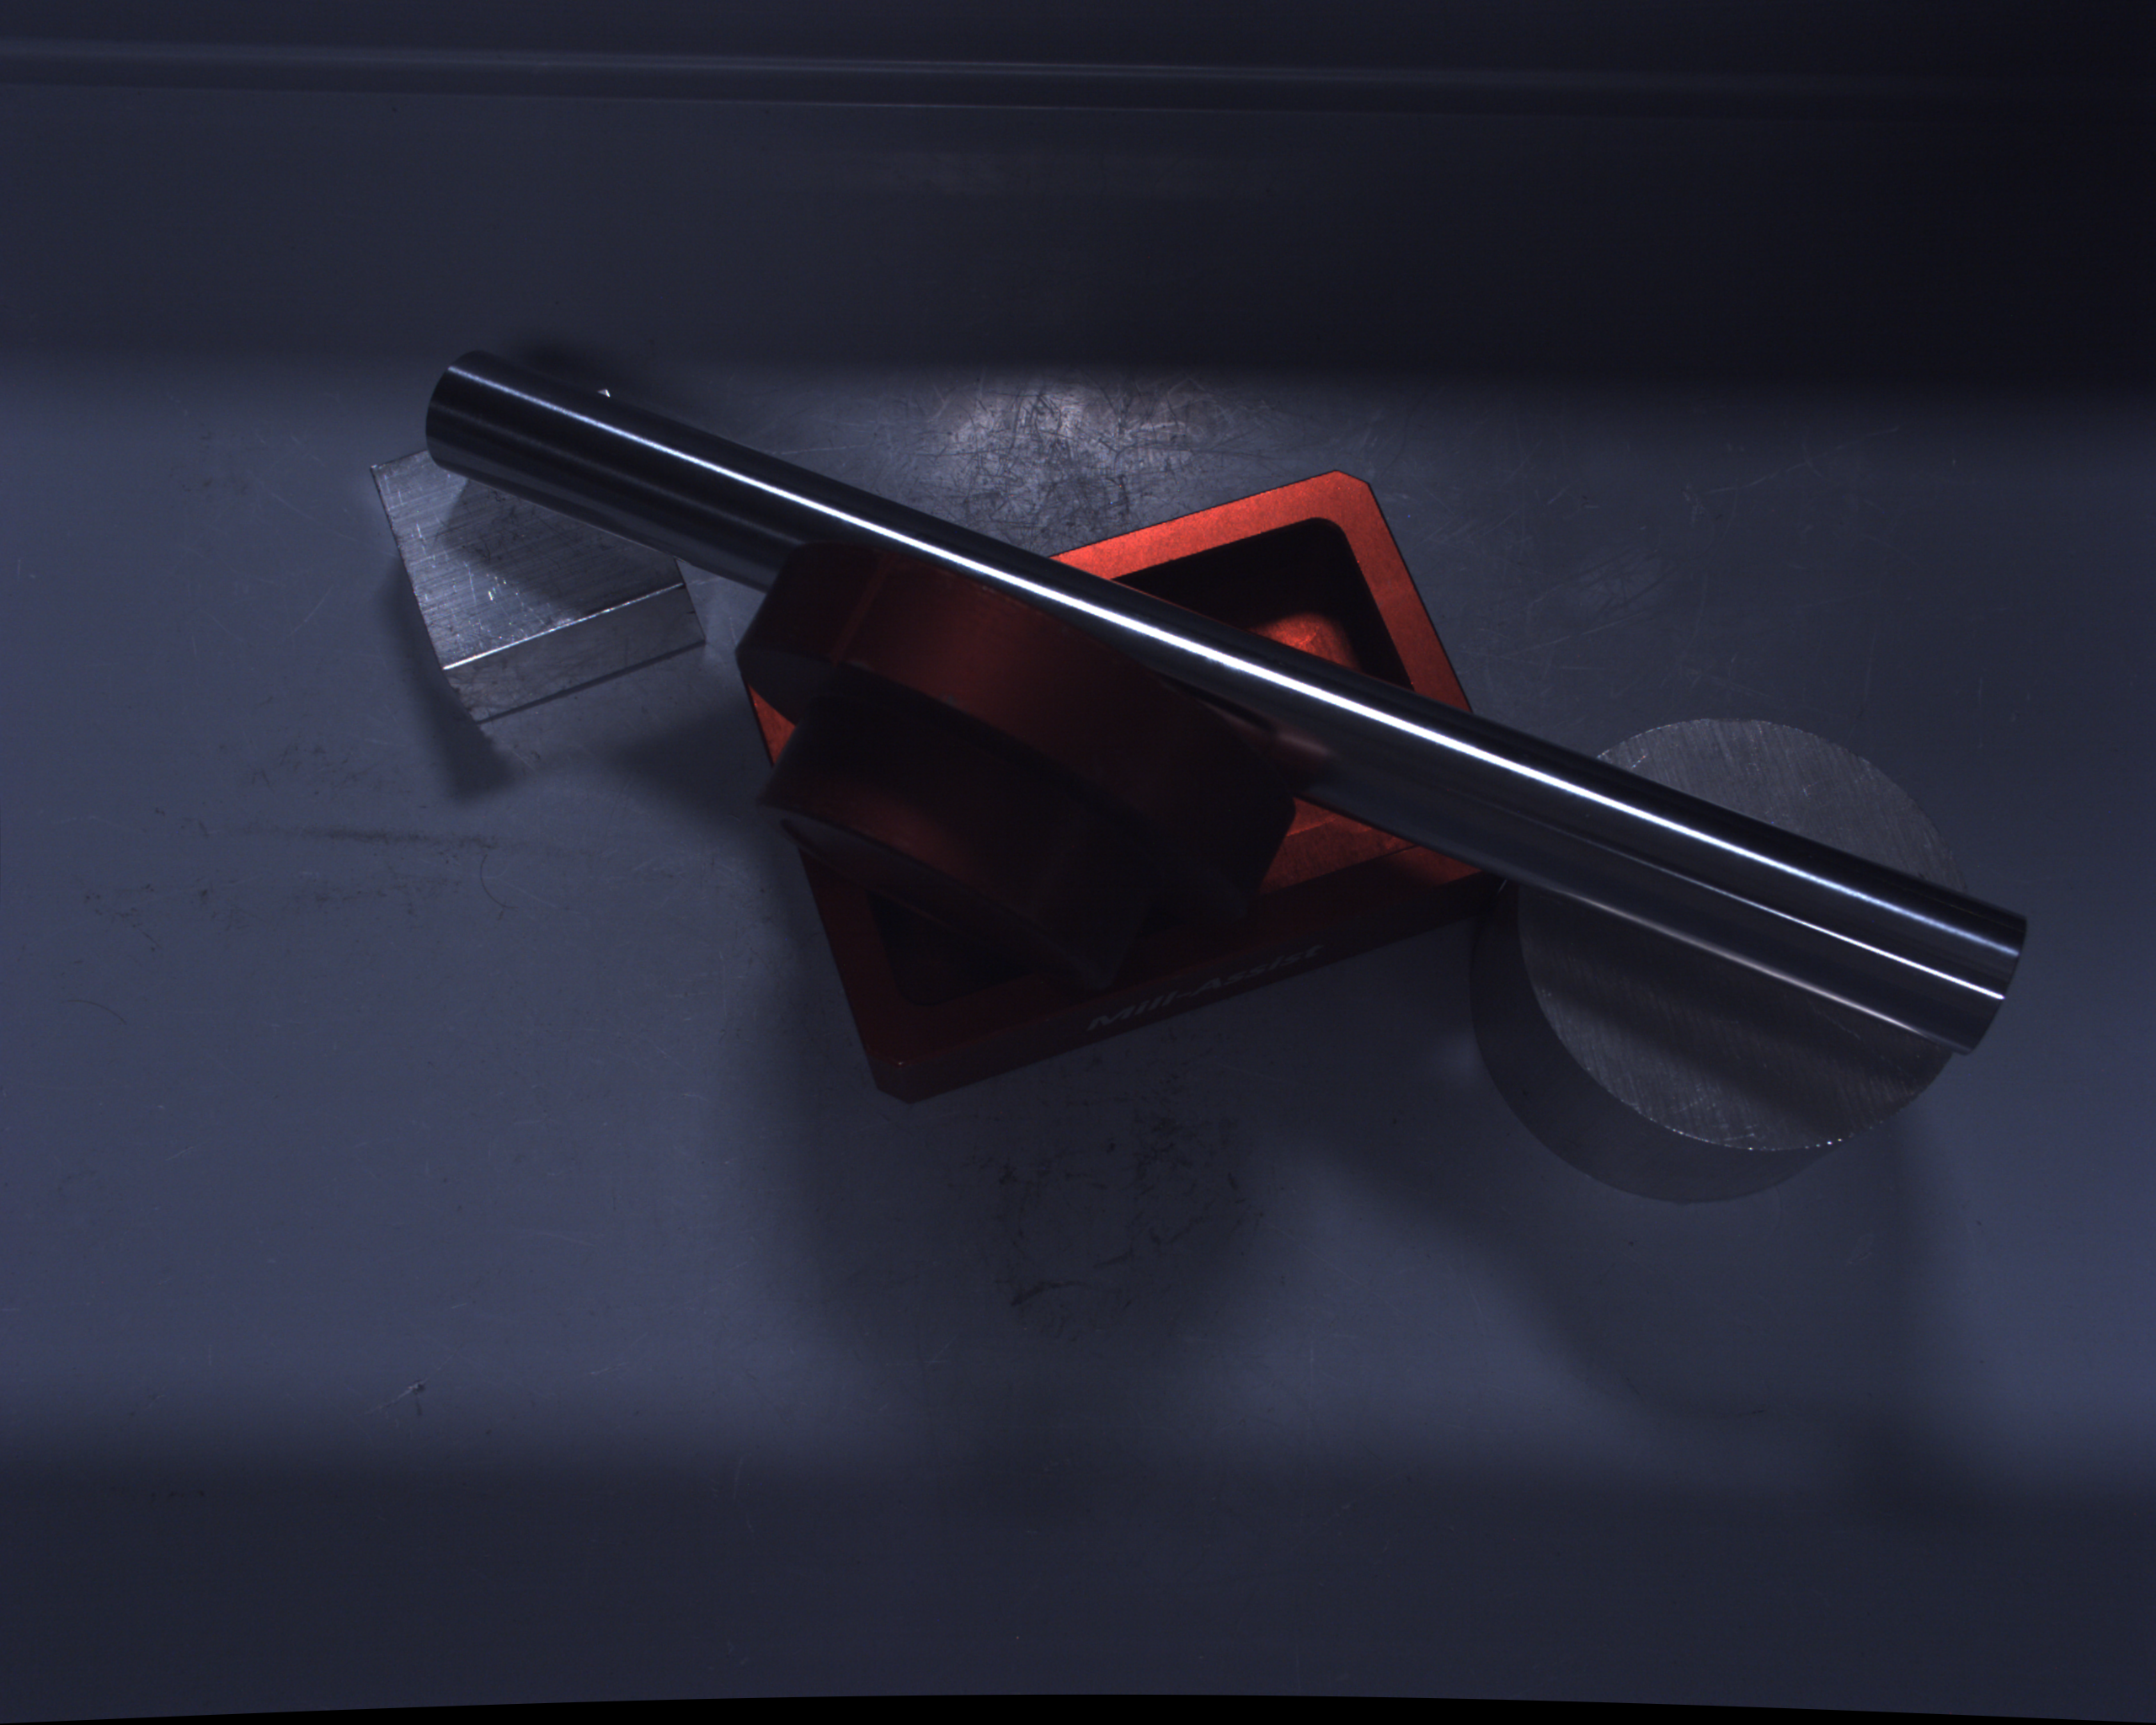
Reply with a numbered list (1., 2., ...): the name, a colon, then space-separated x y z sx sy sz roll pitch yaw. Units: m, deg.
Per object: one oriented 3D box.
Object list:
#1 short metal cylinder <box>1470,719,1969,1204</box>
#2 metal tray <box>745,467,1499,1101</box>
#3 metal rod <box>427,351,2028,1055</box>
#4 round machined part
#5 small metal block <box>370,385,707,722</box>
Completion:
1. short metal cylinder: 0.118 0.020 0.389 0.081 0.050 0.080 0 70 0
2. metal tray: 0.010 -0.017 0.411 0.131 0.030 0.090 -18 71 -7
3. metal rod: 0.015 -0.035 0.377 0.301 0.025 0.025 22 71 14
4. round machined part: -0.016 -0.012 0.360 0.098 0.098 0.042 26 80 9
5. small metal block: -0.111 -0.064 0.430 0.050 0.025 0.050 -21 72 -8
